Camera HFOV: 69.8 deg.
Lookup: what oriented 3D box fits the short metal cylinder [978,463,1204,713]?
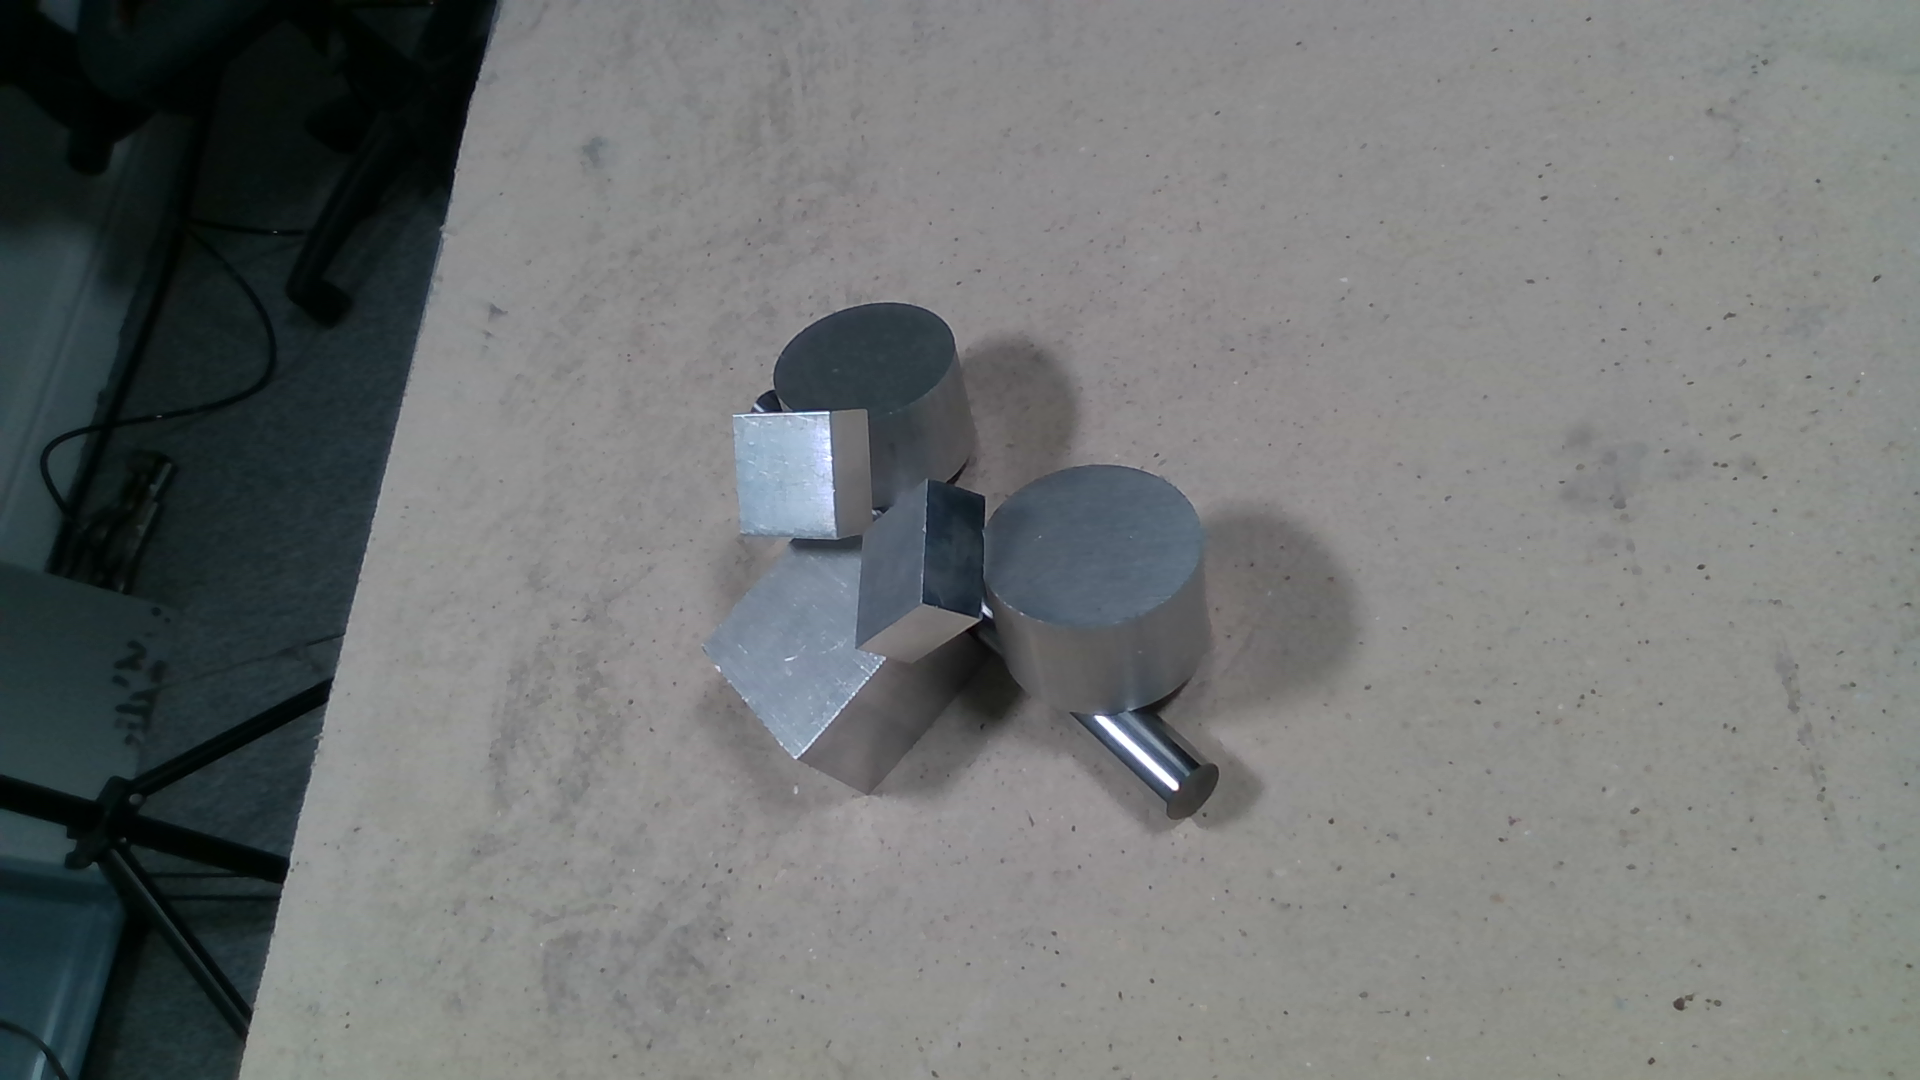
[{"bbox_3d":[0.050,0.017,0.511,0.080,0.050,0.080,-7,45,7],"label":"short metal cylinder"}]

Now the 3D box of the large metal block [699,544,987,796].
[{"bbox_3d":[-0.048,0.045,0.573,0.080,0.050,0.080,-49,51,0],"label":"large metal block"}]

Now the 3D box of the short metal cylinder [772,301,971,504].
[{"bbox_3d":[-0.037,-0.060,0.607,0.080,0.050,0.080,-7,46,7],"label":"short metal cylinder"}]

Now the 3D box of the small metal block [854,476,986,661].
[{"bbox_3d":[-0.015,0.012,0.508,0.050,0.025,0.050,-36,44,50],"label":"small metal block"}]

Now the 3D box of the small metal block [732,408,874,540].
[{"bbox_3d":[-0.063,-0.027,0.559,0.050,0.025,0.050,2,99,33],"label":"small metal block"}]

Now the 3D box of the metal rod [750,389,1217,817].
[{"bbox_3d":[-0.006,0.012,0.582,0.025,0.025,0.299,-49,51,0],"label":"metal rod"}]
